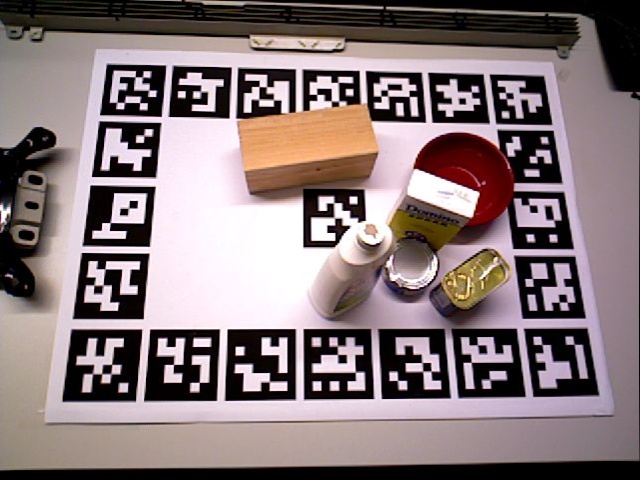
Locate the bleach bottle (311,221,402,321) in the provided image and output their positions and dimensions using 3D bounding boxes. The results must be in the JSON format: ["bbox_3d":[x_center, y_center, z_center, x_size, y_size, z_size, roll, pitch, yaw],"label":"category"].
[{"bbox_3d":[0.045,0.033,0.697,0.101,0.254,0.067,-25,73,-12],"label":"bleach bottle"}]

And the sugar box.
[{"bbox_3d":[0.161,-0.036,0.762,0.093,0.178,0.045,19,72,6],"label":"sugar box"}]

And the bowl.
[{"bbox_3d":[0.233,-0.093,0.851,0.161,0.056,0.160,-1,71,1],"label":"bowl"}]

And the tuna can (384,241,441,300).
[{"bbox_3d":[0.135,0.046,0.809,0.085,0.034,0.085,0,75,-2],"label":"tuna can"}]

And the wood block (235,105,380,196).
[{"bbox_3d":[-0.024,-0.139,0.838,0.204,0.091,0.090,-9,76,-7],"label":"wood block"}]

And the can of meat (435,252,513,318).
[{"bbox_3d":[0.222,0.064,0.788,0.100,0.085,0.057,-30,72,-14],"label":"can of meat"}]
